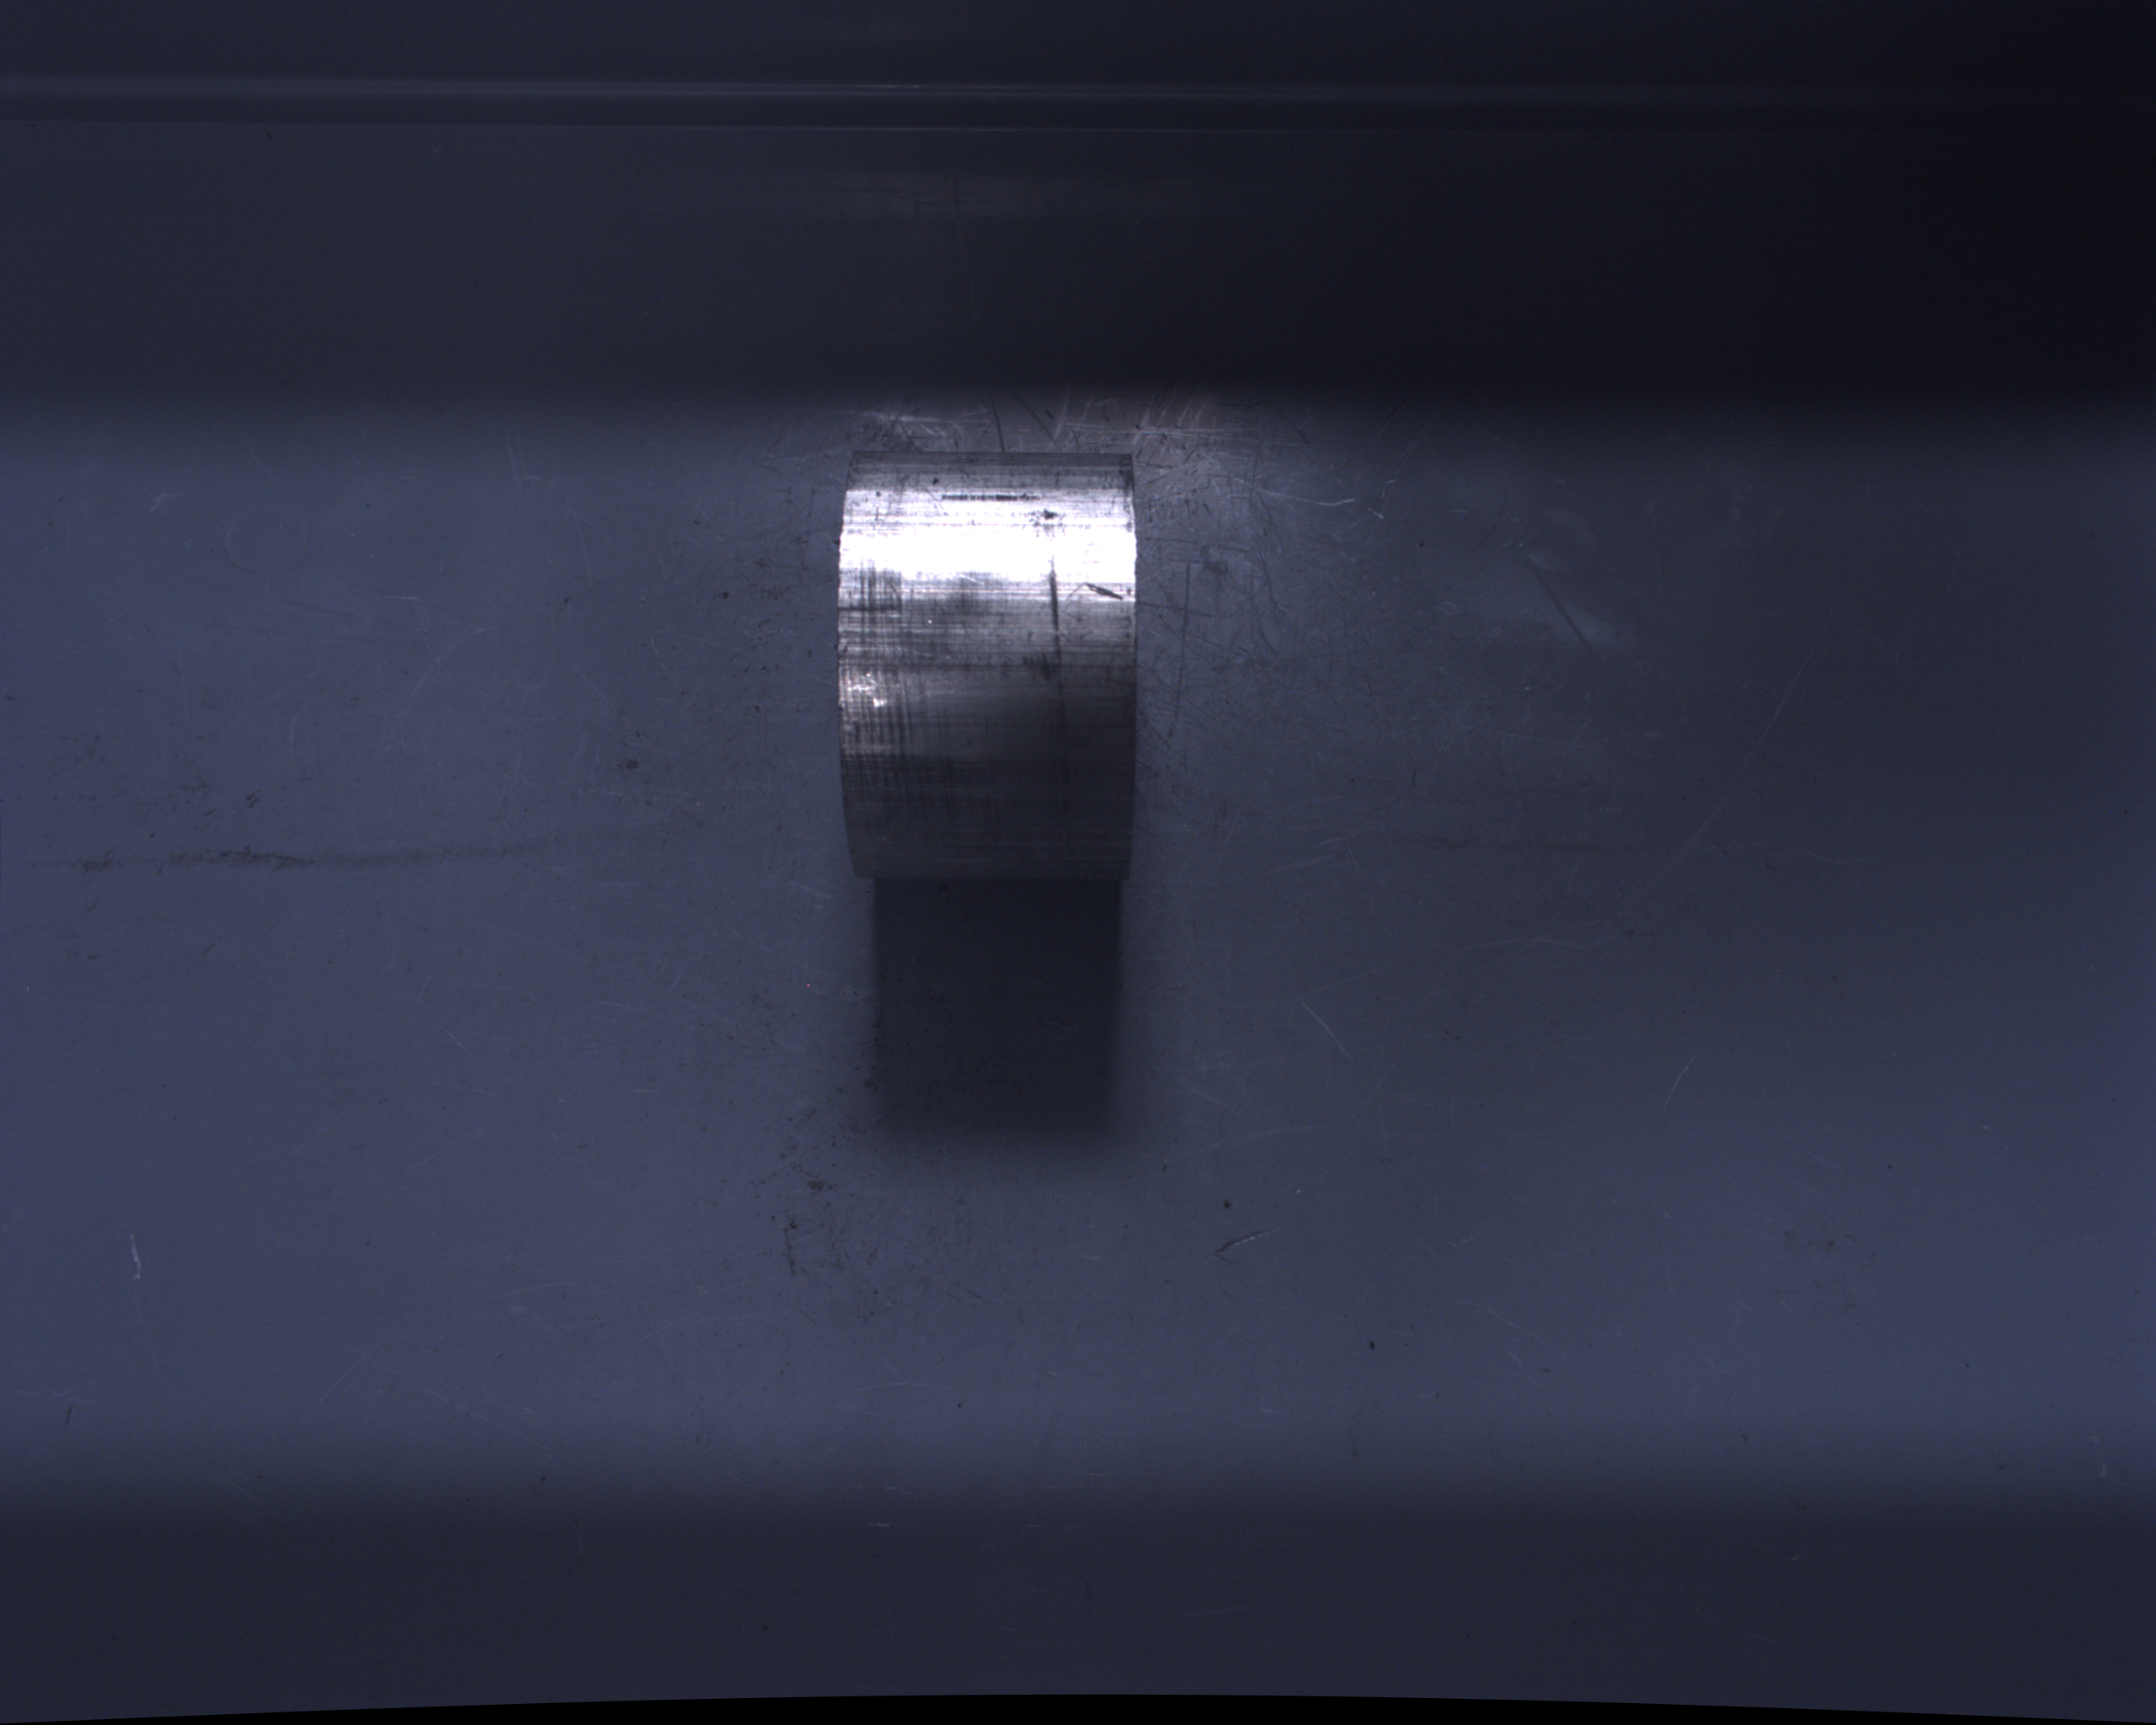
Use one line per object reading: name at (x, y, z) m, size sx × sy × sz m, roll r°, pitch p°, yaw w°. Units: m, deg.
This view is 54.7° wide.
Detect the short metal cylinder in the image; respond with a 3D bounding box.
short metal cylinder at (-0.016, -0.036, 0.391) m, size 0.050 × 0.080 × 0.080 m, roll 0°, pitch 70°, yaw 0°
